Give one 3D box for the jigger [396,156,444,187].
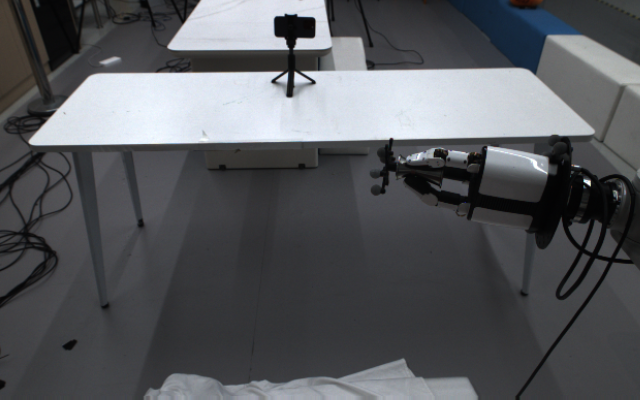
[{"bbox_3d":[0.157,-0.049,0.727,0.071,0.043,0.043,10,35,15],"label":"jigger"}]
